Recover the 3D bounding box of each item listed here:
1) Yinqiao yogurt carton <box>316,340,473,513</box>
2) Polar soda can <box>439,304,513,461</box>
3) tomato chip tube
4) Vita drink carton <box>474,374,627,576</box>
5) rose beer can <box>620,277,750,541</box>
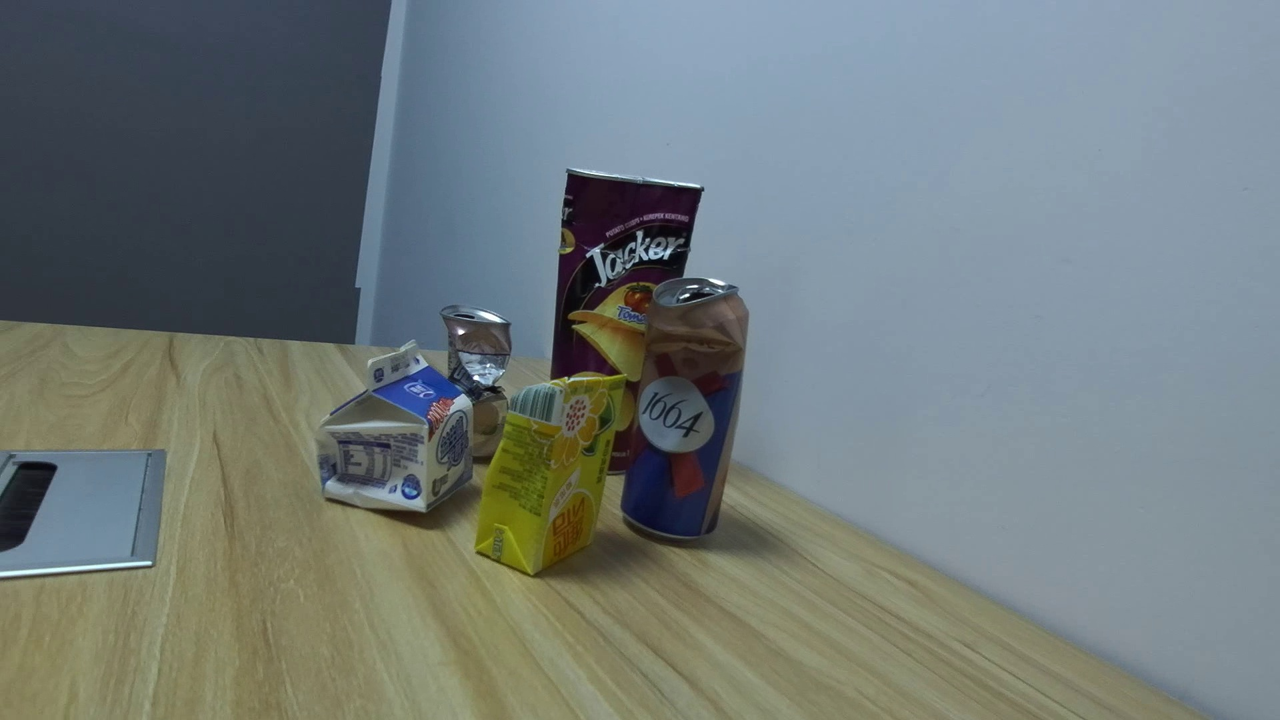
[{"bbox_3d":[-0.154,0.039,0.441,0.080,0.097,0.074,3,9,6],"label":"Yinqiao yogurt carton"},{"bbox_3d":[-0.129,0.019,0.550,0.074,0.114,0.070,6,10,17],"label":"Polar soda can"},{"bbox_3d":[-0.025,-0.031,0.573,0.078,0.235,0.089,2,15,-32],"label":"tomato chip tube"},{"bbox_3d":[-0.050,0.057,0.403,0.046,0.109,0.071,16,9,25],"label":"Vita drink carton"},{"bbox_3d":[0.030,0.032,0.460,0.069,0.168,0.070,8,13,6],"label":"rose beer can"}]
